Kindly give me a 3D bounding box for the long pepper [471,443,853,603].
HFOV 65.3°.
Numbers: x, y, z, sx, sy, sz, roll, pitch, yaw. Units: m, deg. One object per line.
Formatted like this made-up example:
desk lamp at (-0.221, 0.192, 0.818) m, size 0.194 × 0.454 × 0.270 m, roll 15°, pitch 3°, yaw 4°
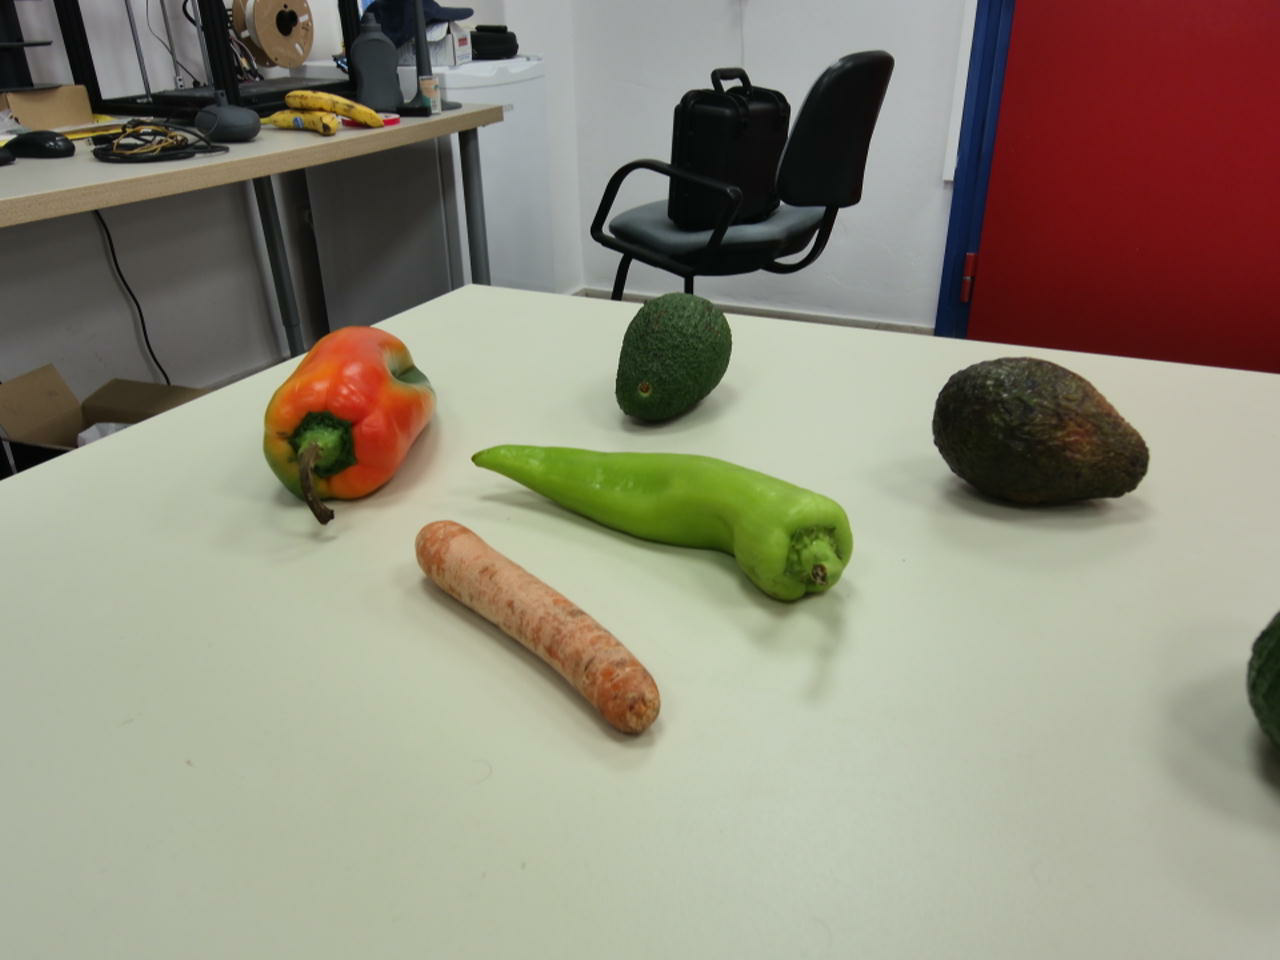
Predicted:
long pepper at (0.013, 0.008, 0.449) m, size 0.205 × 0.045 × 0.065 m, roll 20°, pitch 31°, yaw 38°
